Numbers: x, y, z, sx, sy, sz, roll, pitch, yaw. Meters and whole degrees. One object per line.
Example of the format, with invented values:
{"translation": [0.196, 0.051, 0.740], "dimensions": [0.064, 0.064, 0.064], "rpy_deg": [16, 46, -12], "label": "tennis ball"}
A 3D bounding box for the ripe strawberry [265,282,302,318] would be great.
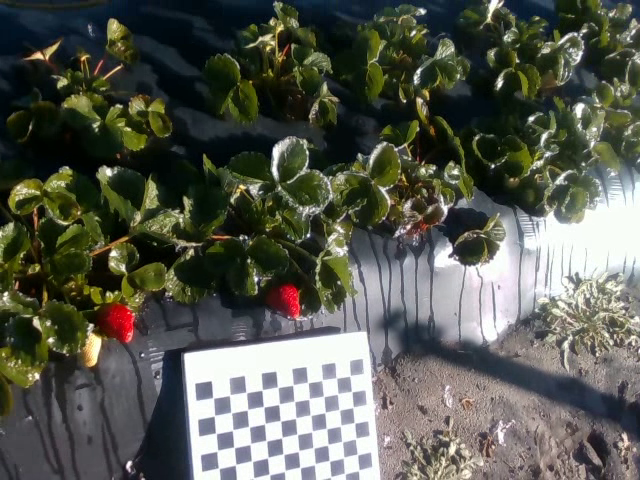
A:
{"translation": [-0.047, 0.087, 0.819], "dimensions": [0.048, 0.061, 0.044], "rpy_deg": [-10, -32, -27], "label": "ripe strawberry"}

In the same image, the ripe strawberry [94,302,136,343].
{"translation": [-0.253, 0.110, 0.722], "dimensions": [0.042, 0.046, 0.061], "rpy_deg": [-18, 52, -26], "label": "ripe strawberry"}
